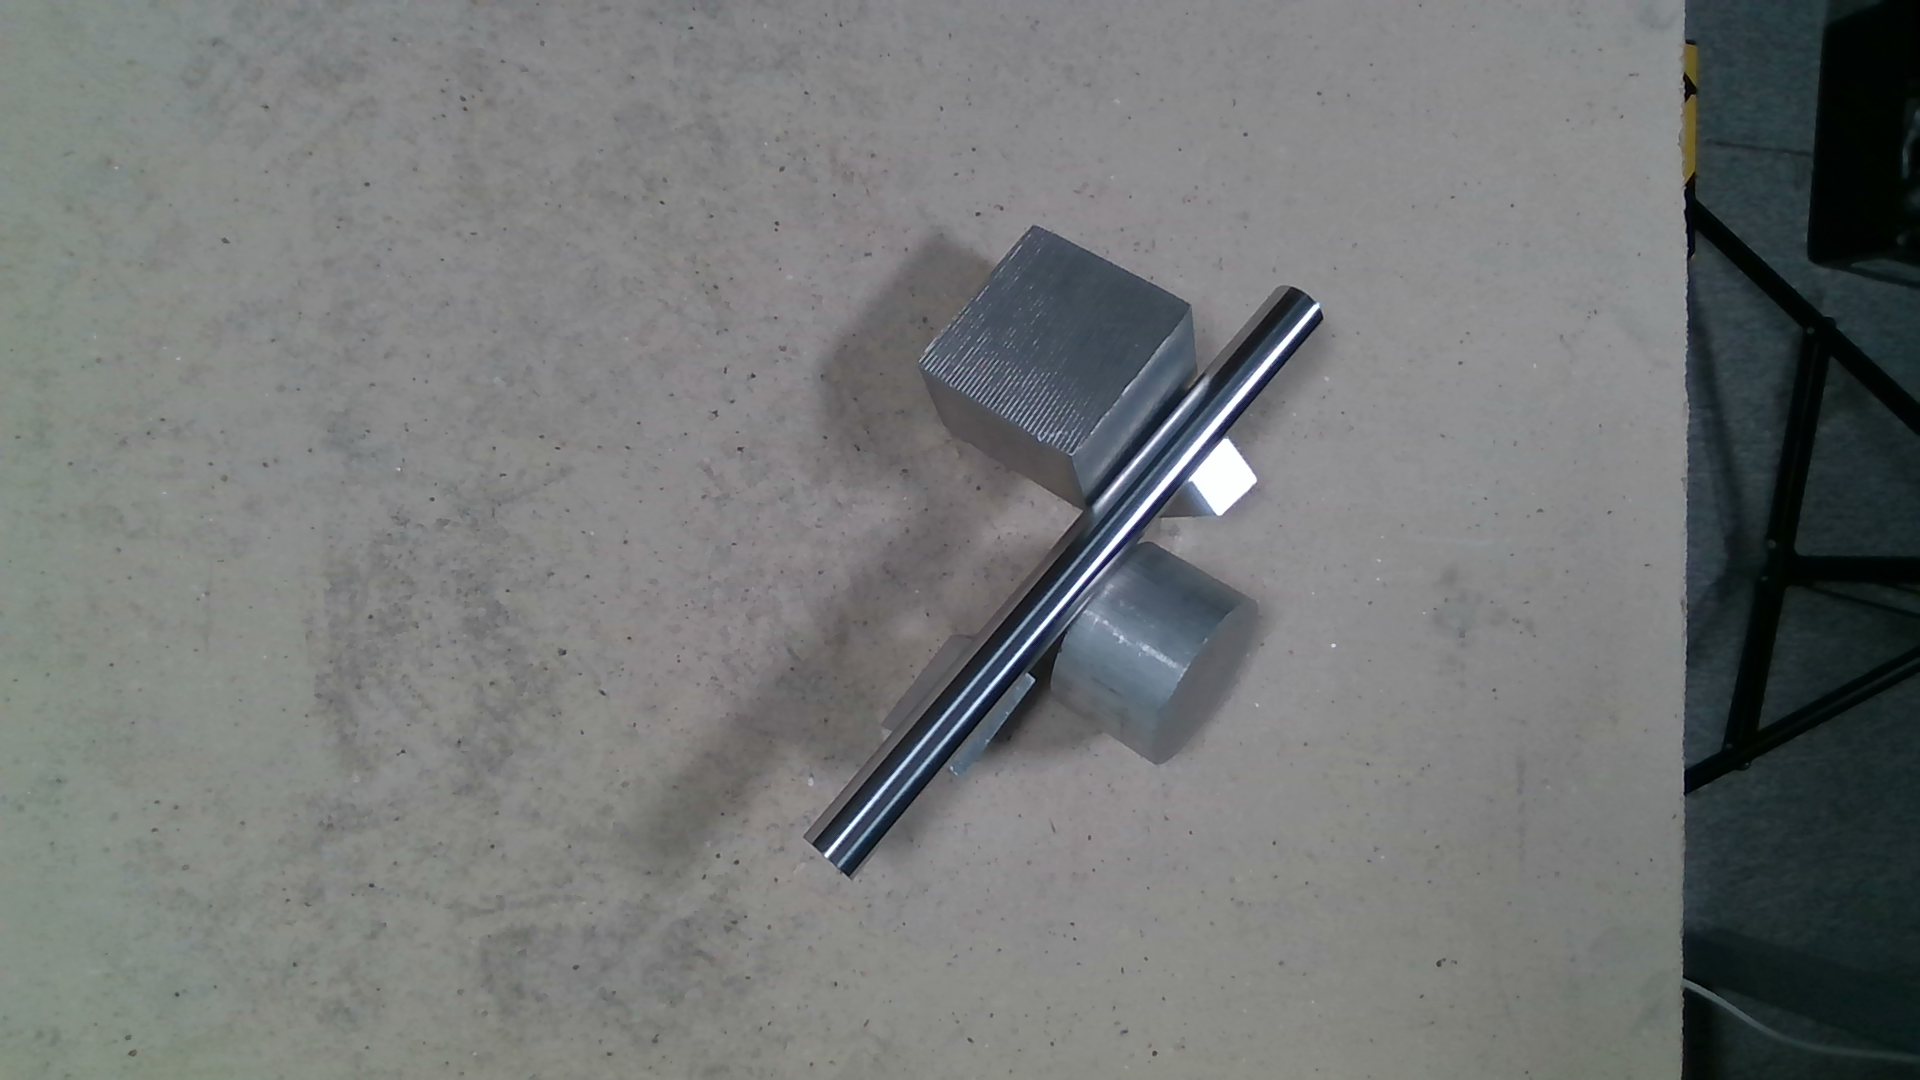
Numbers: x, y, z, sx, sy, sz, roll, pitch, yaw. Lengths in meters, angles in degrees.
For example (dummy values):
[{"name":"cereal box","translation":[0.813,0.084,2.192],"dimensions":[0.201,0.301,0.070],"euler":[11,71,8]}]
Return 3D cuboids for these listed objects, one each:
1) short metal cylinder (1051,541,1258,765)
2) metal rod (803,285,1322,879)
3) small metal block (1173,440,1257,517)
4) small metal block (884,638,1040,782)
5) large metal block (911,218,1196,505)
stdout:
[{"name":"short metal cylinder","translation":[0.082,0.047,0.581],"dimensions":[0.050,0.080,0.080],"euler":[31,76,25]},{"name":"metal rod","translation":[0.047,0.010,0.550],"dimensions":[0.025,0.025,0.300],"euler":[45,76,-15]},{"name":"small metal block","translation":[0.096,-0.037,0.608],"dimensions":[0.025,0.050,0.050],"euler":[-41,103,-16]},{"name":"small metal block","translation":[-0.001,0.069,0.570],"dimensions":[0.025,0.050,0.050],"euler":[43,76,-15]},{"name":"large metal block","translation":[0.040,-0.073,0.569],"dimensions":[0.080,0.050,0.080],"euler":[33,76,24]}]
